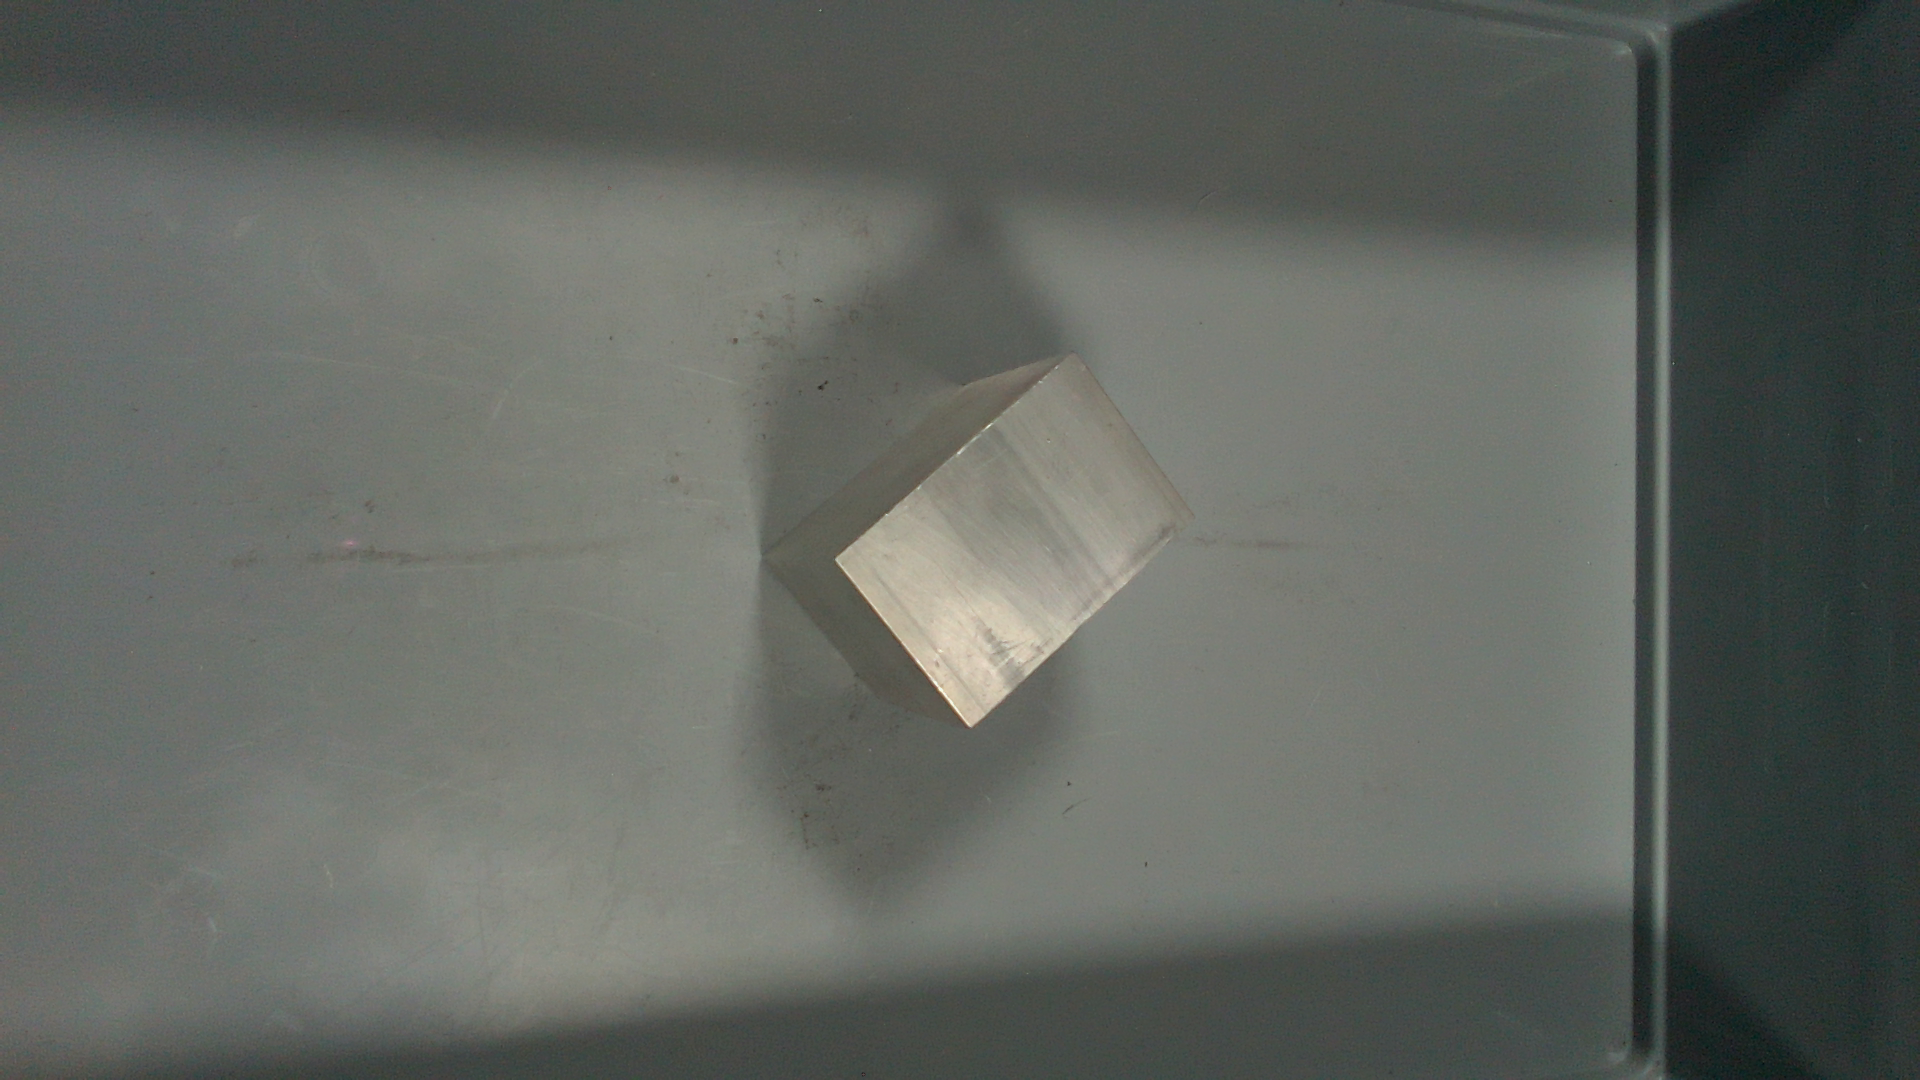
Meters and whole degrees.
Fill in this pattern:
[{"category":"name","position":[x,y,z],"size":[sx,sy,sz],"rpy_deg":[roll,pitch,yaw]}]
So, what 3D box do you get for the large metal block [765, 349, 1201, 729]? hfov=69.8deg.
[{"category":"large metal block","position":[0.002,-0.001,0.362],"size":[0.080,0.080,0.050],"rpy_deg":[-41,103,-15]}]
